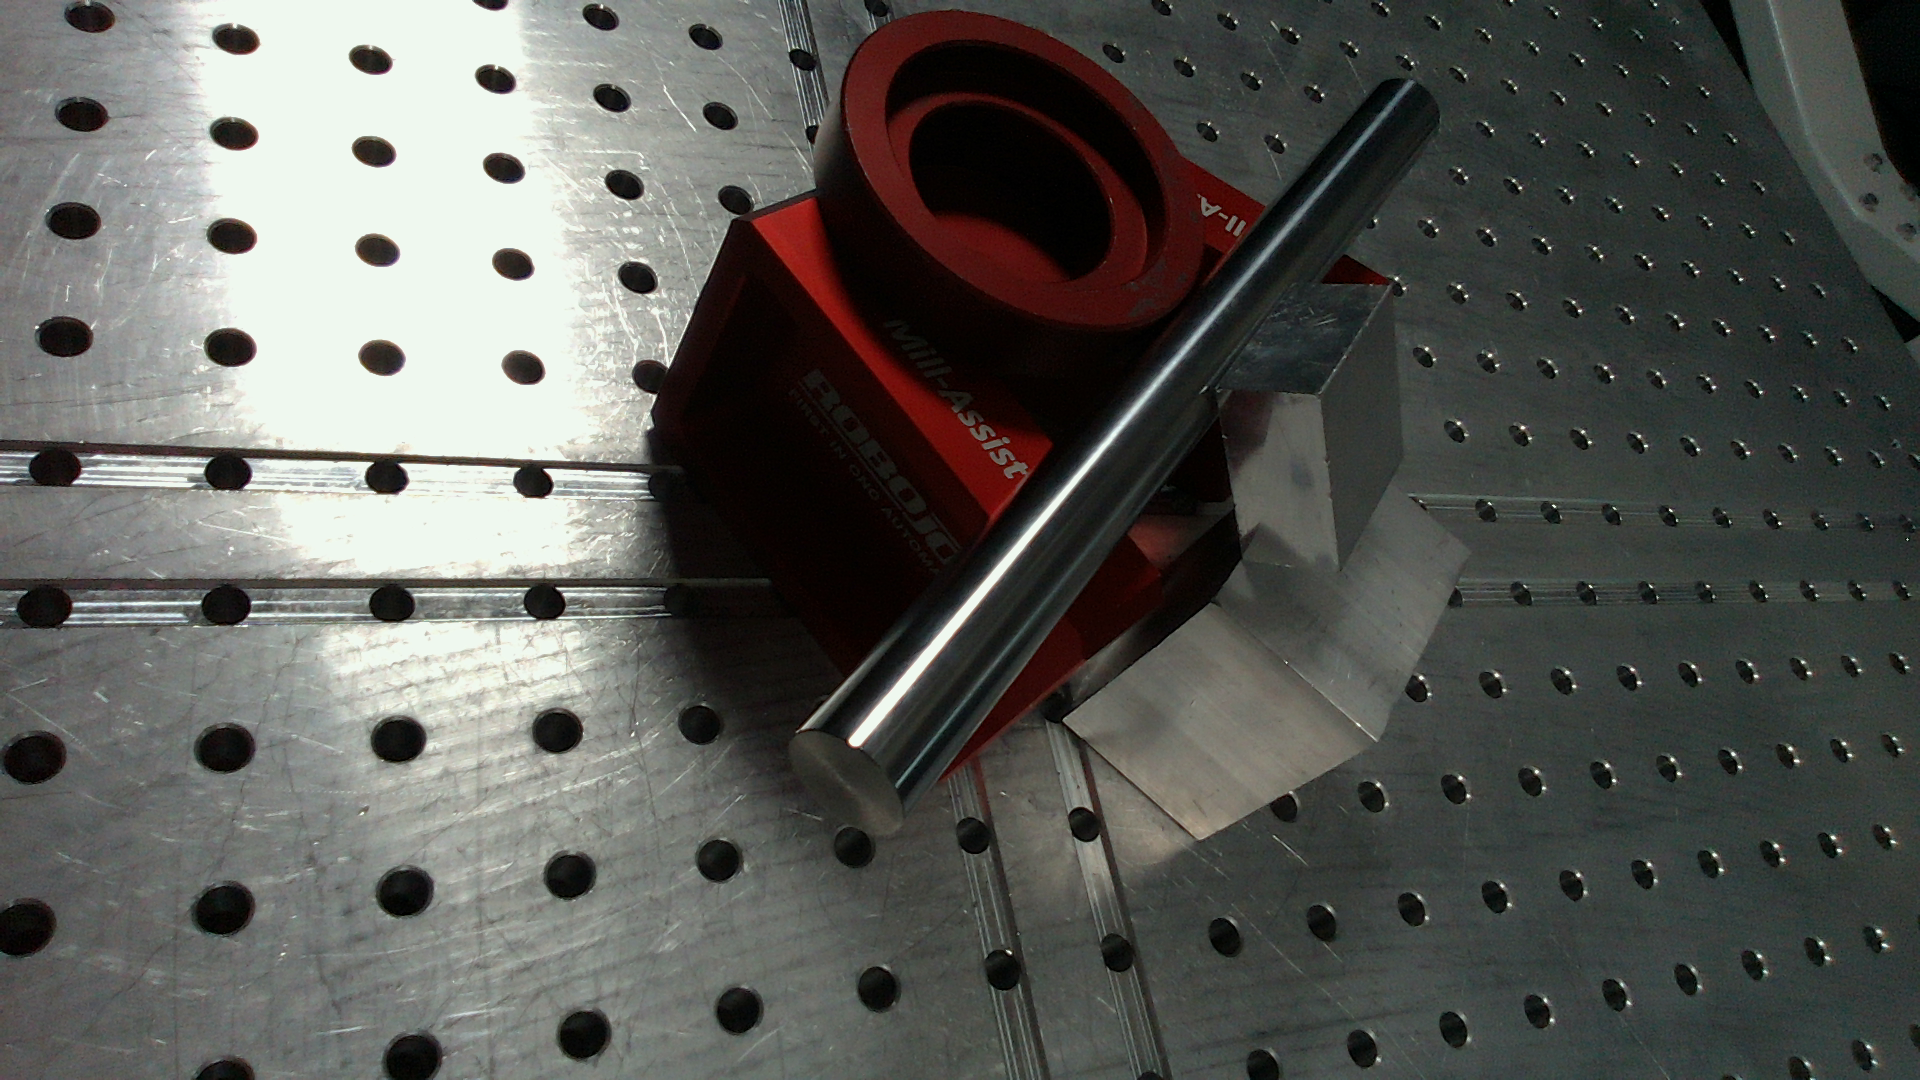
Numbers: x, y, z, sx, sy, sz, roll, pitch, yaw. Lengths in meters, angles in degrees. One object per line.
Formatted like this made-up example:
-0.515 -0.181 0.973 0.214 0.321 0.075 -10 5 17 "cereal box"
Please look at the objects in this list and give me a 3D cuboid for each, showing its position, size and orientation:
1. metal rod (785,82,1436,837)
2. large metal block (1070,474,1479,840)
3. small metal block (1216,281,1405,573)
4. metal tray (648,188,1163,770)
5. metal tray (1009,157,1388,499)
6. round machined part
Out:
0.058 -0.044 0.334 0.025 0.025 0.301 42 51 1 "metal rod"
0.087 0.026 0.384 0.050 0.080 0.080 41 51 0 "large metal block"
0.087 -0.028 0.336 0.025 0.050 0.050 8 41 33 "small metal block"
-0.019 -0.012 0.347 0.030 0.090 0.130 -33 80 -38 "metal tray"
0.052 -0.073 0.422 0.130 0.090 0.030 28 53 -11 "metal tray"
0.009 -0.082 0.348 0.098 0.042 0.098 14 56 -21 "round machined part"
